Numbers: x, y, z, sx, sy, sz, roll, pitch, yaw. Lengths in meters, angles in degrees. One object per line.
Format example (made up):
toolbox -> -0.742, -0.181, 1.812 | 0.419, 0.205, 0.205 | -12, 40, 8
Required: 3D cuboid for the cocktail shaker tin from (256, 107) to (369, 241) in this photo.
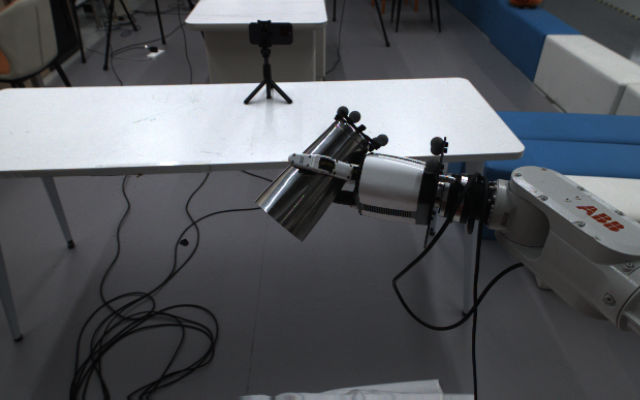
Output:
cocktail shaker tin -> -0.006, -0.037, 0.710 | 0.170, 0.093, 0.093 | -48, 49, -4
